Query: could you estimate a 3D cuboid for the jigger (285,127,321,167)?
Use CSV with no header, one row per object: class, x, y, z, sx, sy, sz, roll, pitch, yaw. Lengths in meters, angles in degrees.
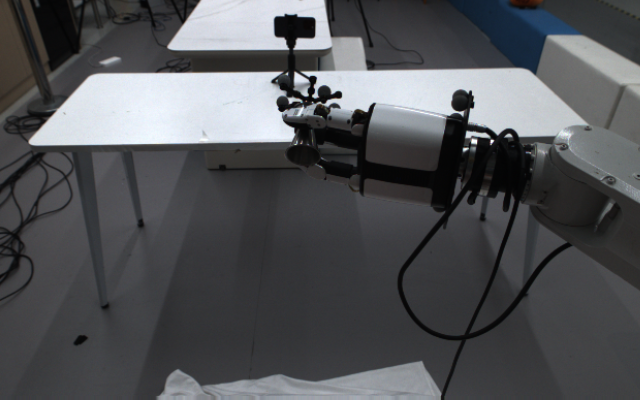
jigger,-0.018,-0.085,0.594,0.043,0.043,0.071,4,60,2
